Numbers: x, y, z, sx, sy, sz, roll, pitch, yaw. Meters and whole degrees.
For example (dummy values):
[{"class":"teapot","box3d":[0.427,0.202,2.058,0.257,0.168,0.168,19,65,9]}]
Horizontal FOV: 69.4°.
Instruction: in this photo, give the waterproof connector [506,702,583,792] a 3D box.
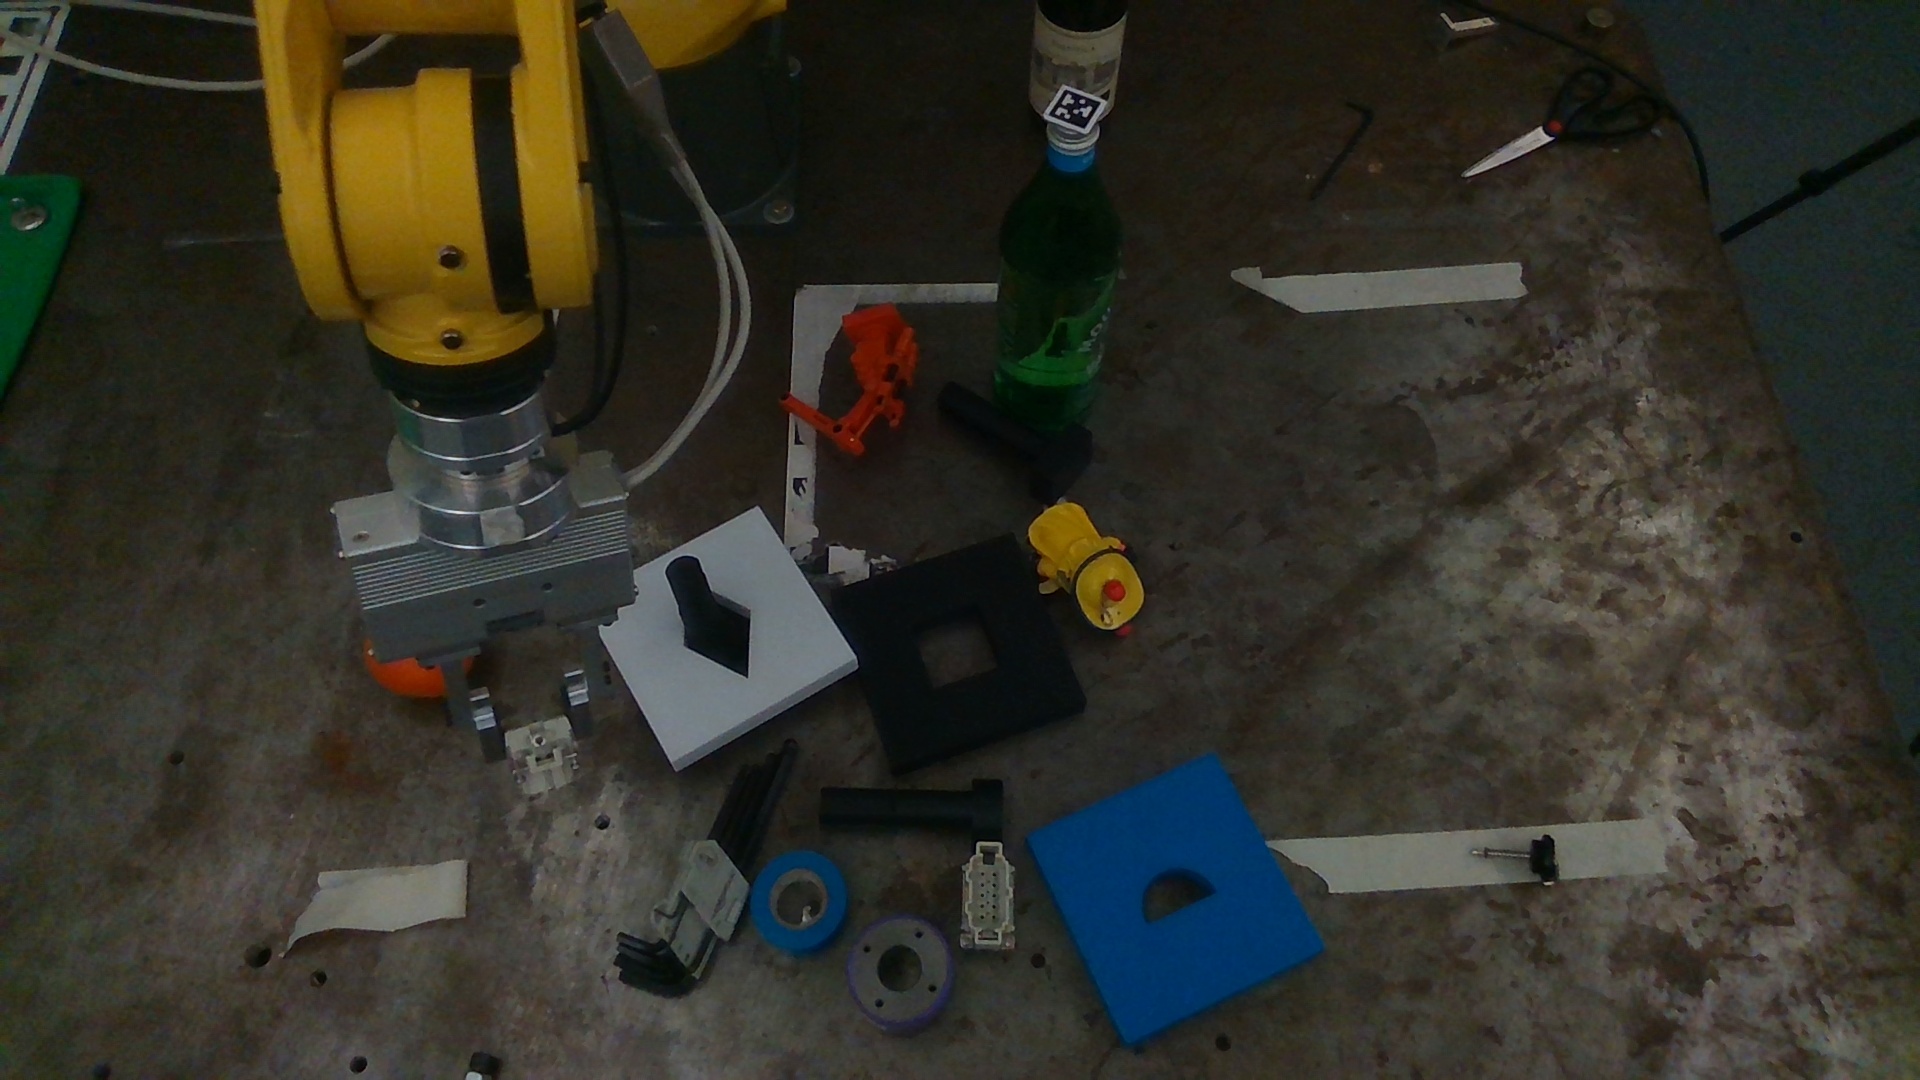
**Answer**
[{"class":"waterproof connector","box3d":[-0.230,0.115,0.769,0.036,0.069,0.038,-16,96,-18]}]
